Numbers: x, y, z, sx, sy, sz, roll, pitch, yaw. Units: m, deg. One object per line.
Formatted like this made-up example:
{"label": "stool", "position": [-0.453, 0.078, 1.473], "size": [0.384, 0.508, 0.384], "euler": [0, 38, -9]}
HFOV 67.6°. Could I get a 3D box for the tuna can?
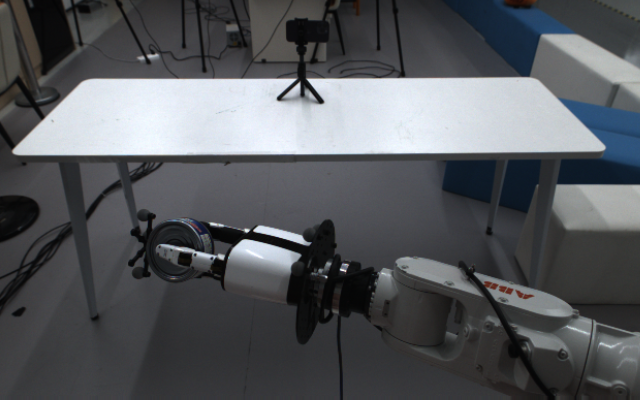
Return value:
{"label": "tuna can", "position": [-0.185, 0.070, 0.647], "size": [0.085, 0.085, 0.034], "euler": [10, 3, 11]}
